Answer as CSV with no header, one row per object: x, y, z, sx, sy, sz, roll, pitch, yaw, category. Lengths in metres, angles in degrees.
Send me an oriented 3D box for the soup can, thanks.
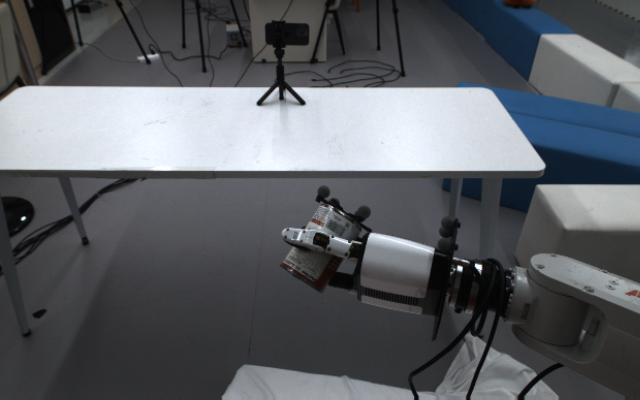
0.004,0.065,0.648,0.067,0.067,0.101,27,78,31,soup can
